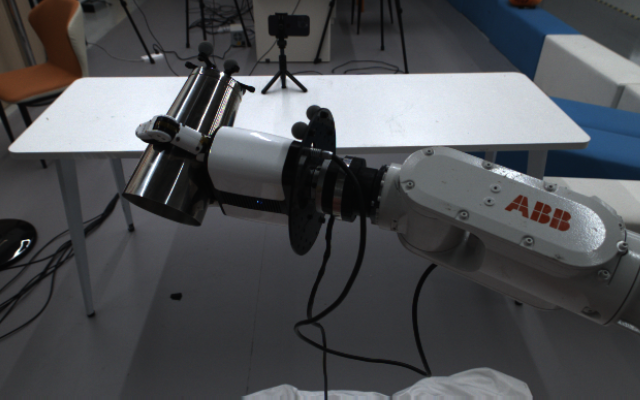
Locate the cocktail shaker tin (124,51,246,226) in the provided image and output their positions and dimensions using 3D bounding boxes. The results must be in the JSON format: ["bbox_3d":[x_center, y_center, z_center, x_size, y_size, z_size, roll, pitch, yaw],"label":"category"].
[{"bbox_3d":[-0.150,-0.064,0.561,0.093,0.093,0.170,14,73,16],"label":"cocktail shaker tin"}]
